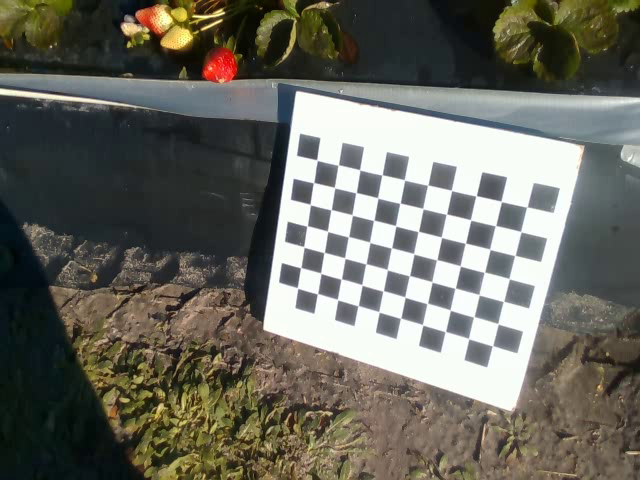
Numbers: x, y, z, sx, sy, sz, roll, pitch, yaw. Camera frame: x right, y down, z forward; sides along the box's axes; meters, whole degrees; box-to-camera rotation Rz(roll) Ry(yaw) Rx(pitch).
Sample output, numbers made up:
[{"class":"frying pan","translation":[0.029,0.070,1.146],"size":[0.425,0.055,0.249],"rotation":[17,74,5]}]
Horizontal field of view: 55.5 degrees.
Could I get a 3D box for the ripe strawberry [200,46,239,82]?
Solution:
[{"class":"ripe strawberry","translation":[-0.089,-0.150,0.531],"size":[0.036,0.038,0.046],"rotation":[14,30,20]}]
